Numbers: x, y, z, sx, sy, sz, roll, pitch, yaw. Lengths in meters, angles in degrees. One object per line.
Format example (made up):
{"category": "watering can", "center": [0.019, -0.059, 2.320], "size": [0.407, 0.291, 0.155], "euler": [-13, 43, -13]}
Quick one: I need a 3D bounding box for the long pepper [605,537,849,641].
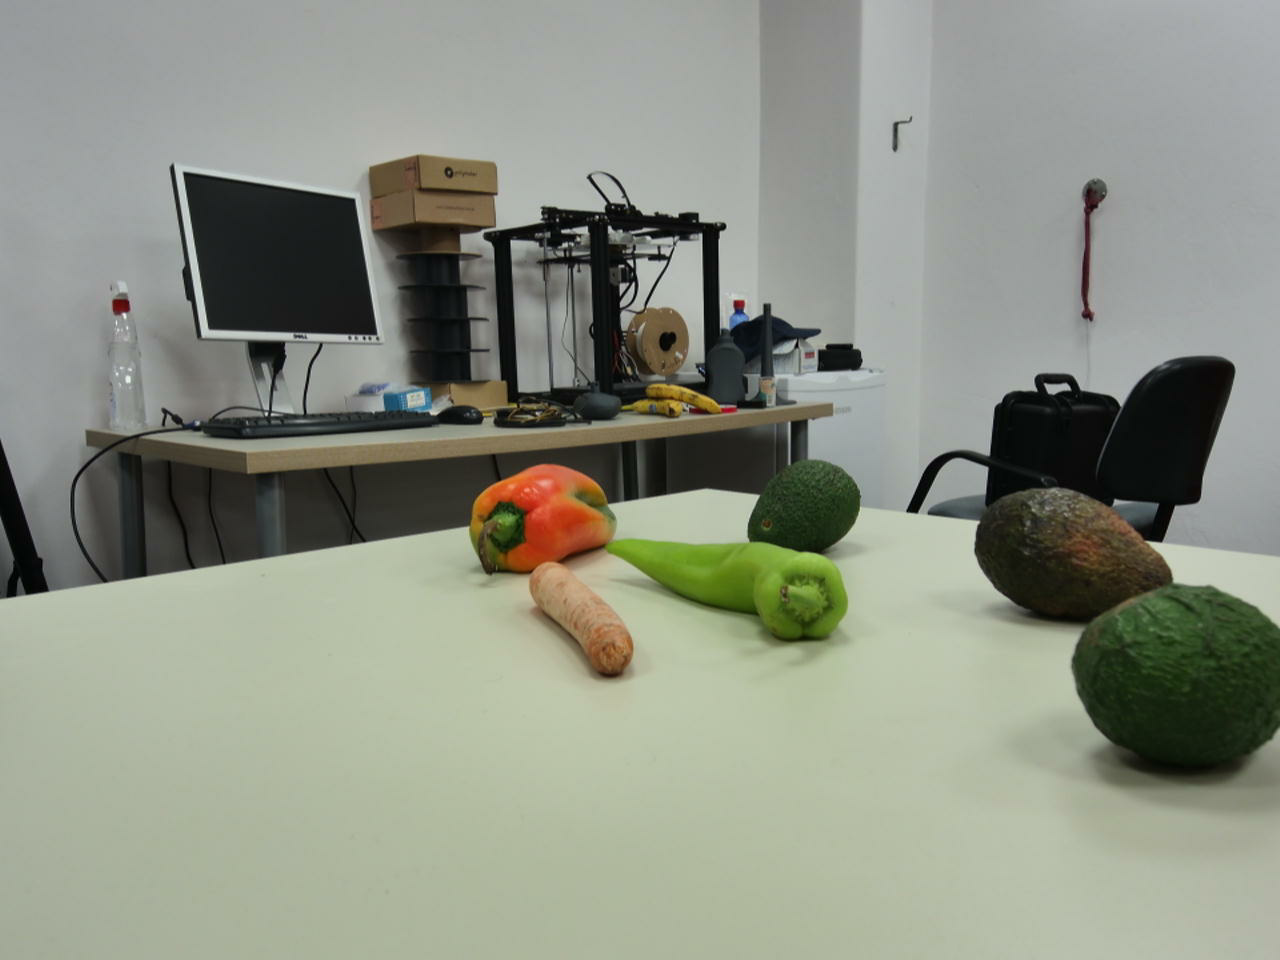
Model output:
{"category": "long pepper", "center": [0.052, 0.054, 0.576], "size": [0.065, 0.045, 0.205], "euler": [-2, 6, -26]}
